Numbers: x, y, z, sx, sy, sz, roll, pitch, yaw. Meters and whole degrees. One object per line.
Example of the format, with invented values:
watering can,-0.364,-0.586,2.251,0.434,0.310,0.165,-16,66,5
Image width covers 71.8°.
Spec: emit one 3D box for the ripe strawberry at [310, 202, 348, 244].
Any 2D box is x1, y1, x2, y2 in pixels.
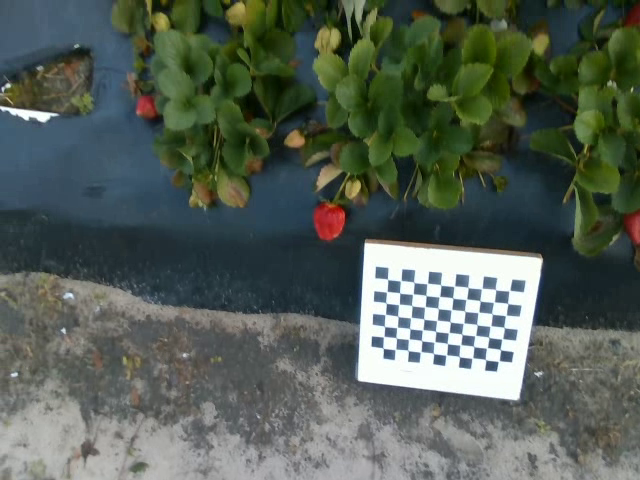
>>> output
ripe strawberry,0.033,-0.025,0.759,0.067,0.075,0.039,10,21,5
